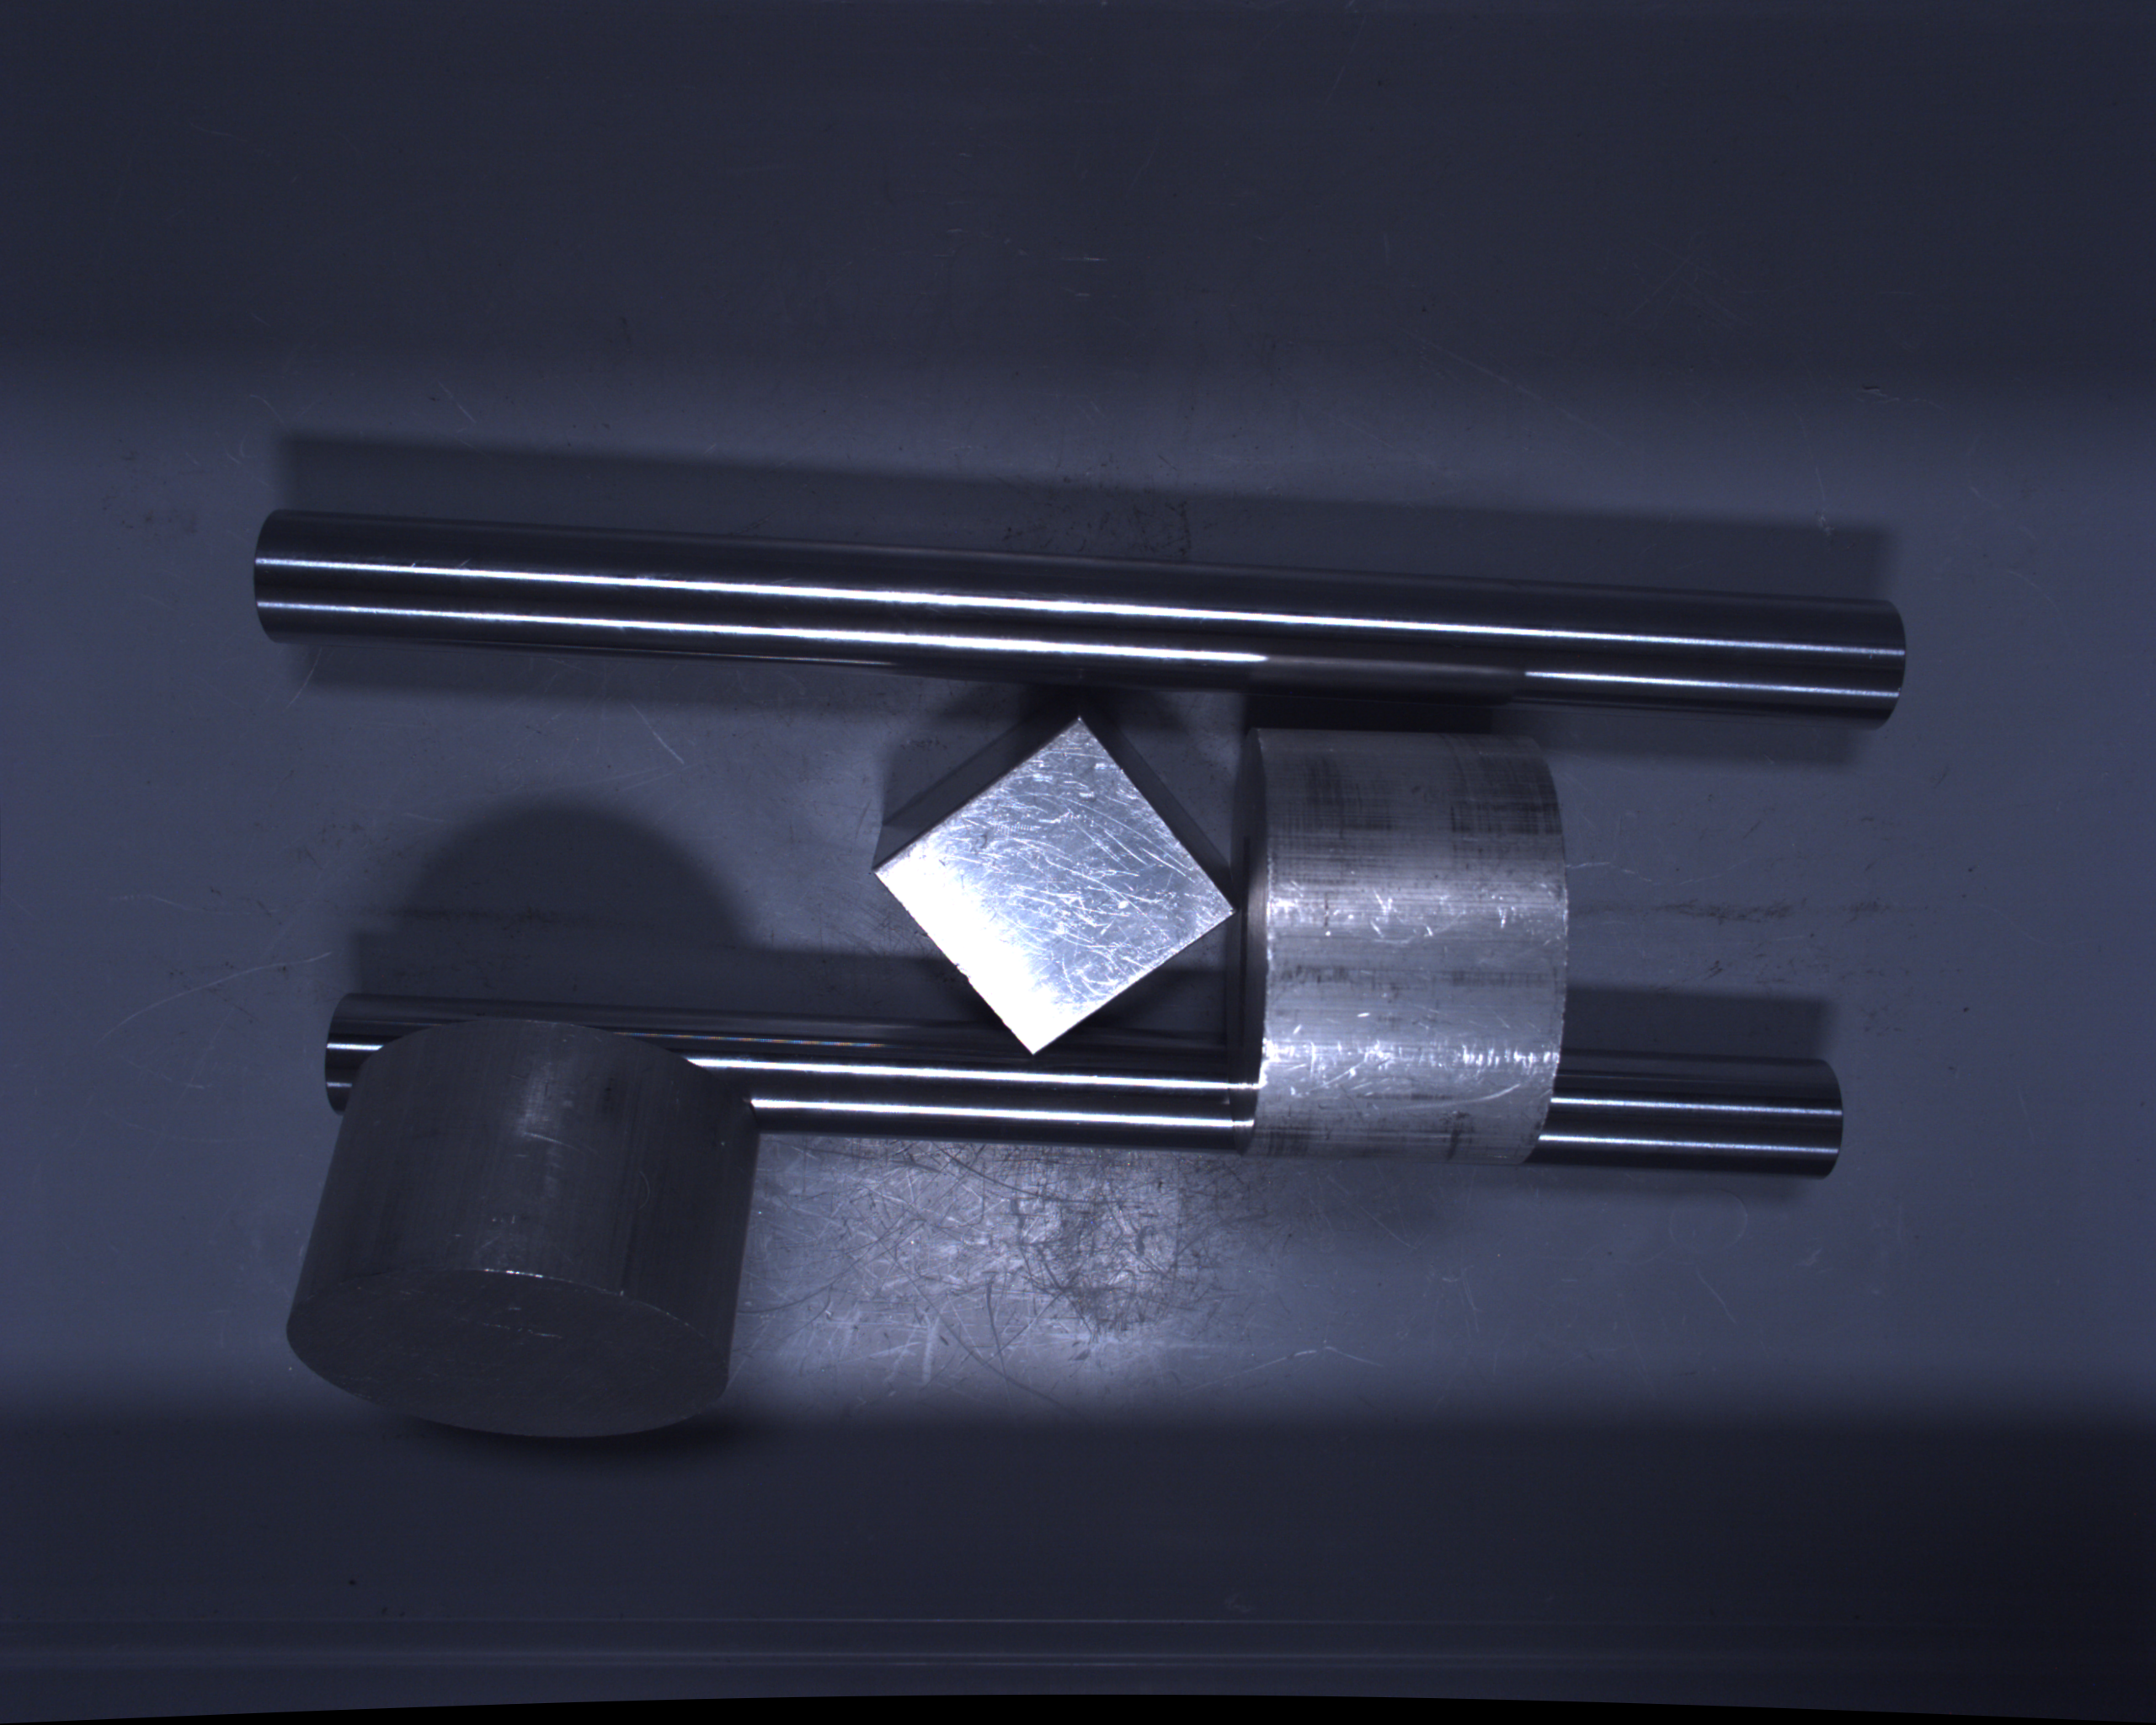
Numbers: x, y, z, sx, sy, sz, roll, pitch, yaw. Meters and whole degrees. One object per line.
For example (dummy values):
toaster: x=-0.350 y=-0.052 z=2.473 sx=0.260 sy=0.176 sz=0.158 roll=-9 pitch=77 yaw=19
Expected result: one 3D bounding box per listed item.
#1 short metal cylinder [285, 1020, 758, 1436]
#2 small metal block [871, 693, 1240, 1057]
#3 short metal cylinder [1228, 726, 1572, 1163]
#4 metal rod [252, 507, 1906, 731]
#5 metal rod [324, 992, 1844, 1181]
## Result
short metal cylinder: x=-0.105 y=0.072 z=0.403 sx=0.081 sy=0.050 sz=0.080 roll=1 pitch=144 yaw=1
small metal block: x=-0.004 y=0.001 z=0.410 sx=0.050 sy=0.025 sz=0.050 roll=-36 pitch=107 yaw=12
short metal cylinder: x=0.057 y=0.015 z=0.387 sx=0.050 sy=0.080 sz=0.079 roll=2 pitch=110 yaw=-1
metal rod: x=0.002 y=-0.045 z=0.392 sx=0.302 sy=0.025 sz=0.025 roll=3 pitch=110 yaw=-2
metal rod: x=0.003 y=0.046 z=0.426 sx=0.302 sy=0.025 sz=0.025 roll=3 pitch=110 yaw=-2
